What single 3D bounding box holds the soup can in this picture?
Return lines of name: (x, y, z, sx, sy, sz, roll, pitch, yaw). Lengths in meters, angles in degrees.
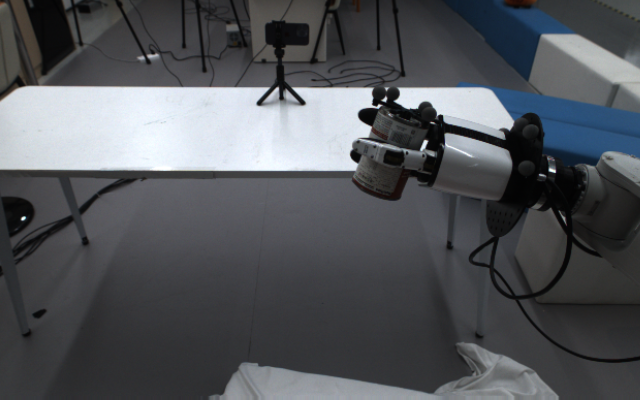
soup can: (0.090, -0.060, 0.613, 0.067, 0.101, 0.067, 16, 21, -7)
